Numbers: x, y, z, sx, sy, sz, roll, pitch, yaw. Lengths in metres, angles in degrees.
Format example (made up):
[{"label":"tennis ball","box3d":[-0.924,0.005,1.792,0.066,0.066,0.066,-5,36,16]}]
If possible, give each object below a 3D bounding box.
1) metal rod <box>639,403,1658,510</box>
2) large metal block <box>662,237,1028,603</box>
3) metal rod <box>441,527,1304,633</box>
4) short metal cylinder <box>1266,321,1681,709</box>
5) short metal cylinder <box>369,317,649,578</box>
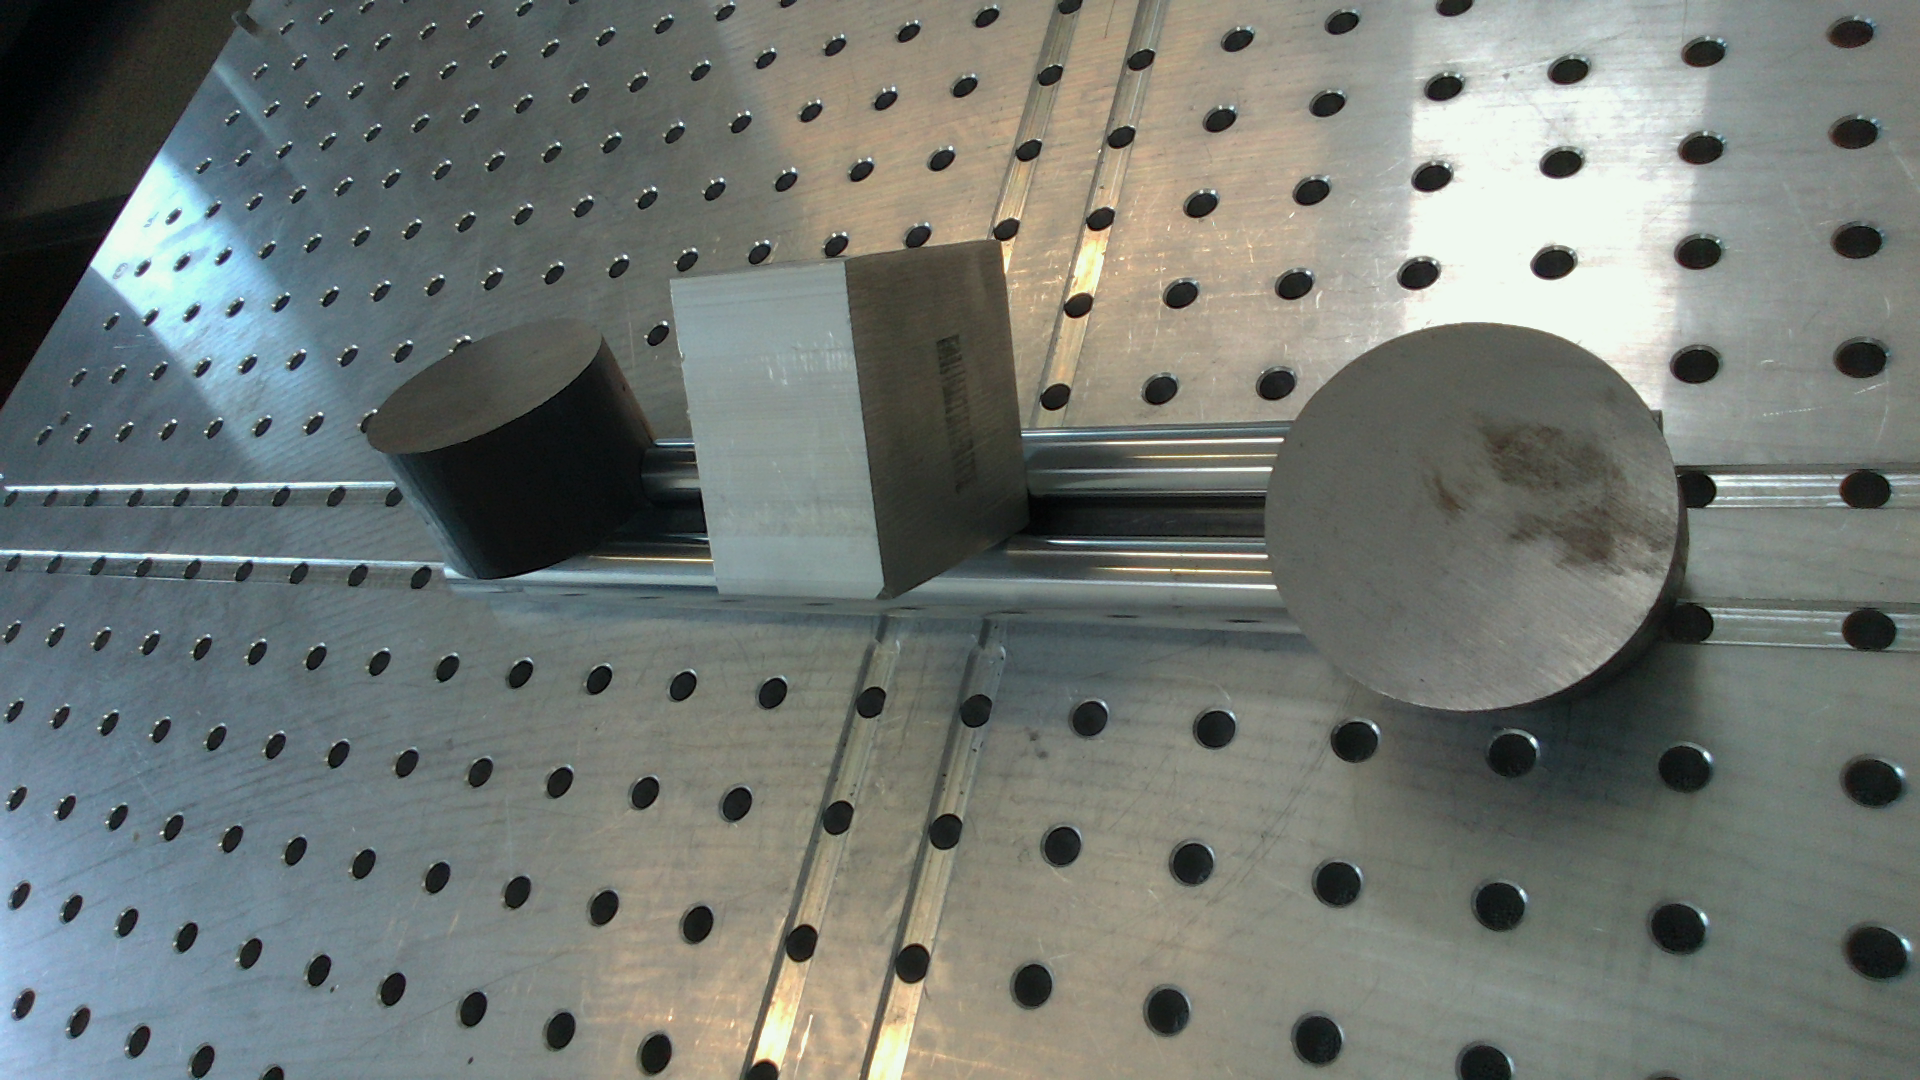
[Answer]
[{"label":"metal rod","box3d":[0.031,-0.021,0.392,0.299,0.025,0.025,1,62,29]},{"label":"large metal block","box3d":[-0.026,-0.034,0.357,0.050,0.080,0.080,1,104,29]},{"label":"metal rod","box3d":[-0.041,0.009,0.413,0.299,0.025,0.025,1,62,29]},{"label":"short metal cylinder","box3d":[0.114,-0.003,0.303,0.080,0.050,0.080,-4,82,29]},{"label":"short metal cylinder","box3d":[-0.147,-0.032,0.461,0.080,0.050,0.080,-14,34,10]}]
